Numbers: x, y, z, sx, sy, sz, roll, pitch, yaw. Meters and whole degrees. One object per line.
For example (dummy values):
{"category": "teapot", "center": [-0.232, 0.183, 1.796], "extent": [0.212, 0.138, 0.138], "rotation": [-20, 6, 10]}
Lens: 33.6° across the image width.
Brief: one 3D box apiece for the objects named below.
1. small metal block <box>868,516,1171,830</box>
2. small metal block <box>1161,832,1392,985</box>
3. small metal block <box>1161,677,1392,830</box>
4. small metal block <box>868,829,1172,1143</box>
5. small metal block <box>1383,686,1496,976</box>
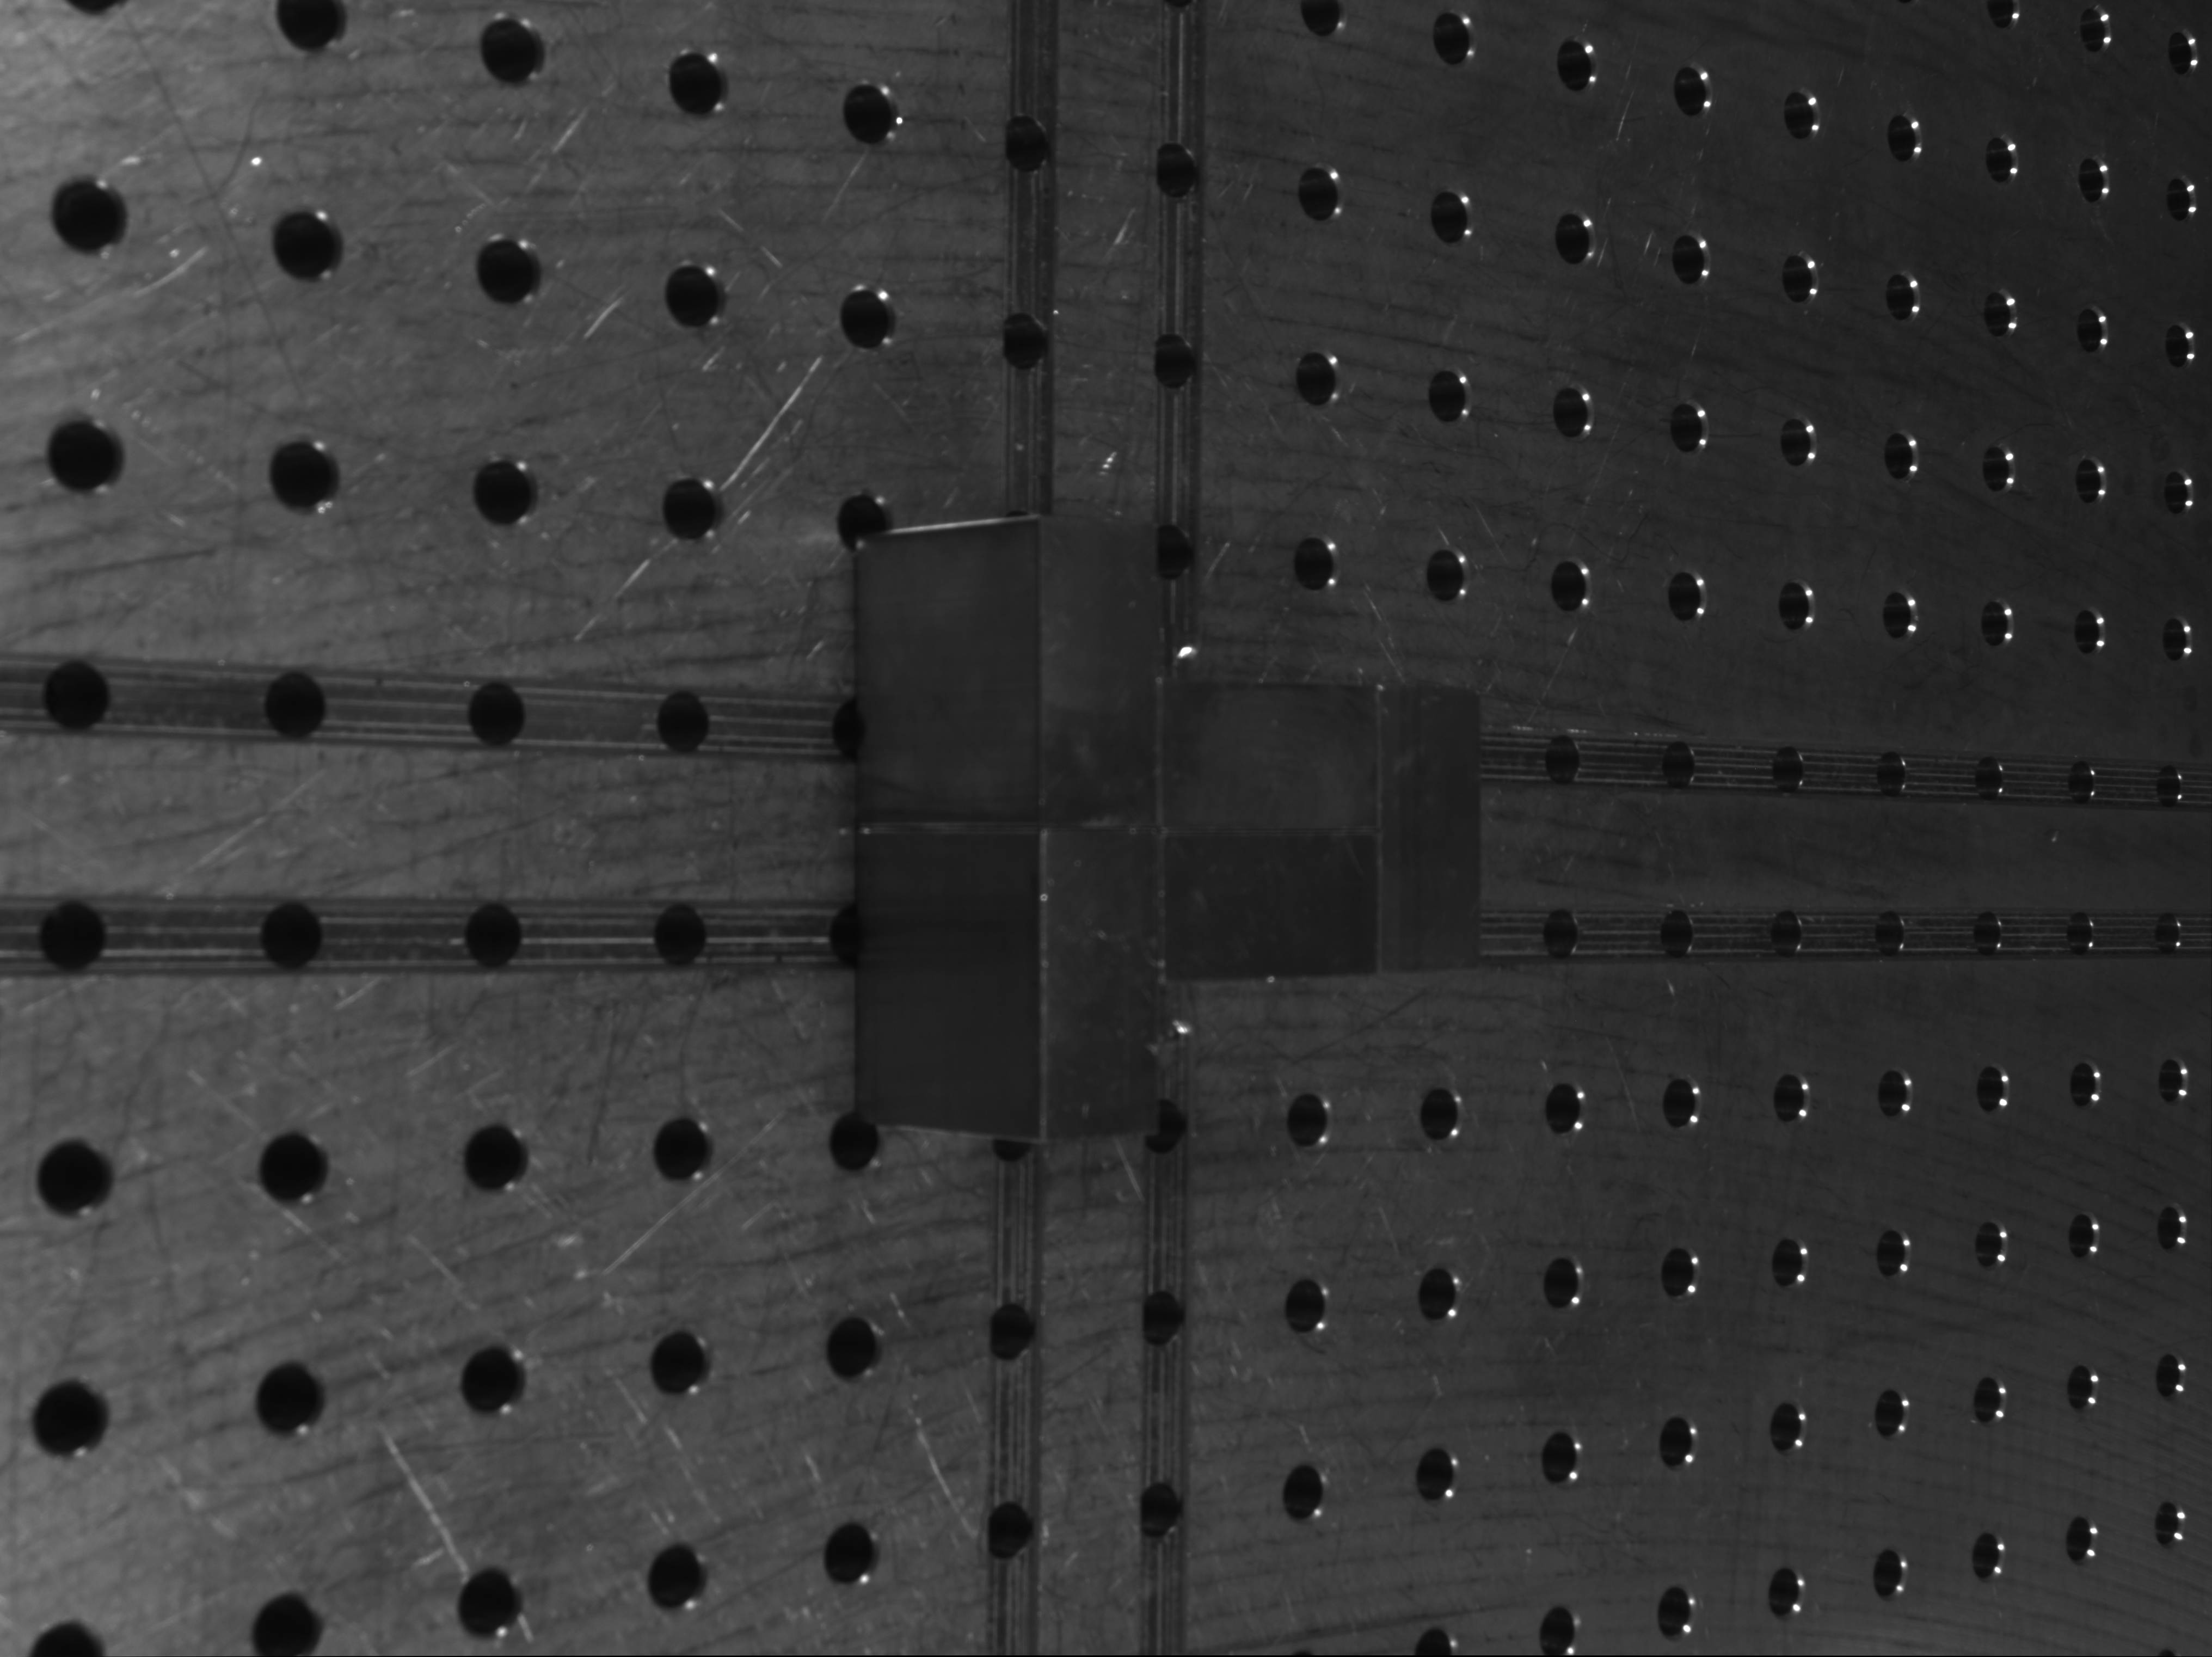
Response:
{"category": "small metal block", "center": [-0.015, -0.025, 0.611], "extent": [0.025, 0.050, 0.050], "rotation": [0, 90, -40]}
{"category": "small metal block", "center": [0.014, 0.013, 0.635], "extent": [0.050, 0.050, 0.025], "rotation": [0, 90, -40]}
{"category": "small metal block", "center": [0.014, -0.012, 0.635], "extent": [0.050, 0.050, 0.025], "rotation": [0, 90, -40]}
{"category": "small metal block", "center": [-0.015, 0.025, 0.611], "extent": [0.025, 0.050, 0.050], "rotation": [0, 90, -40]}
{"category": "small metal block", "center": [0.043, 0.000, 0.659], "extent": [0.025, 0.050, 0.050], "rotation": [0, 90, -40]}
